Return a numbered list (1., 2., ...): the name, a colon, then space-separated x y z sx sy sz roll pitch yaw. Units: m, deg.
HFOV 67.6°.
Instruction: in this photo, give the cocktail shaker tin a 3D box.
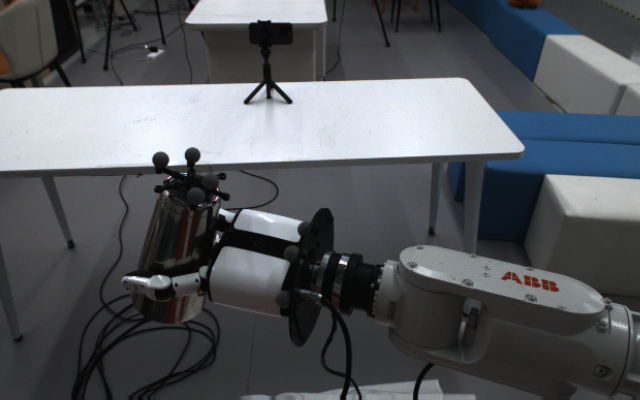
1. cocktail shaker tin: -0.165 0.053 0.573 0.093 0.170 0.093 16 31 -10
